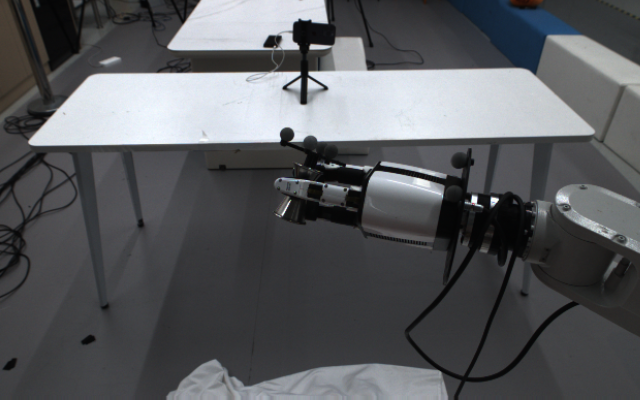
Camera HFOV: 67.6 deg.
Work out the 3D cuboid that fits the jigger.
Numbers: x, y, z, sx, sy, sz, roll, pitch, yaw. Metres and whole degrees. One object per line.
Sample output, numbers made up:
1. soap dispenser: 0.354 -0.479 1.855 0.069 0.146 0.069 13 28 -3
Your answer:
1. jigger: -0.027 -0.010 0.590 0.043 0.071 0.043 22 6 -2
